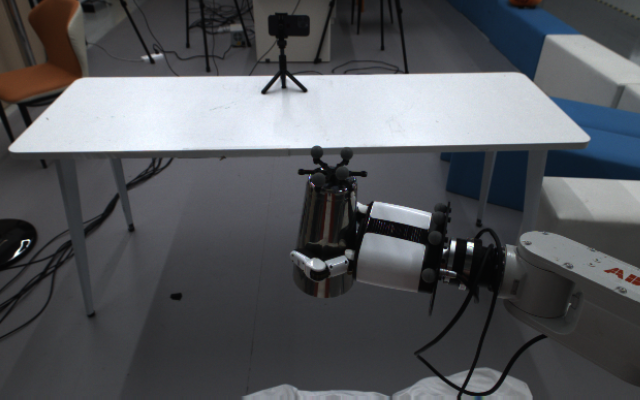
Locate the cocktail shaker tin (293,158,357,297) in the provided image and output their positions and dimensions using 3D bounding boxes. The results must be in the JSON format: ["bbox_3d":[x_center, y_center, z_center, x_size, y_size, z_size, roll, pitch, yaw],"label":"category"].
[{"bbox_3d":[0.013,0.042,0.672,0.093,0.170,0.093,3,34,-2],"label":"cocktail shaker tin"}]
